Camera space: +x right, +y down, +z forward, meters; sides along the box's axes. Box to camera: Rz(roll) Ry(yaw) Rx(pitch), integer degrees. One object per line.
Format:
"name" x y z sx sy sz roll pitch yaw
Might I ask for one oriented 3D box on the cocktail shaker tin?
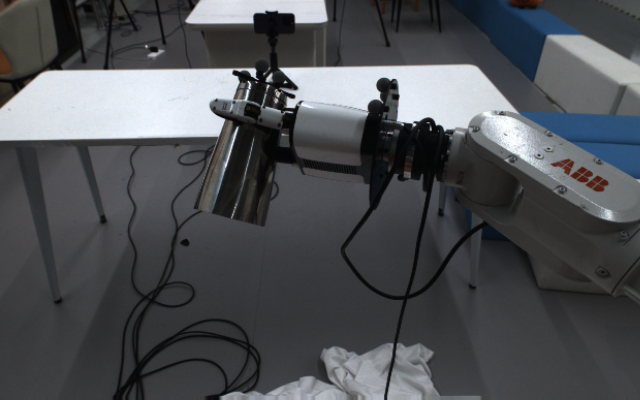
"cocktail shaker tin" -0.093 -0.061 0.620 0.093 0.170 0.093 14 -5 1
